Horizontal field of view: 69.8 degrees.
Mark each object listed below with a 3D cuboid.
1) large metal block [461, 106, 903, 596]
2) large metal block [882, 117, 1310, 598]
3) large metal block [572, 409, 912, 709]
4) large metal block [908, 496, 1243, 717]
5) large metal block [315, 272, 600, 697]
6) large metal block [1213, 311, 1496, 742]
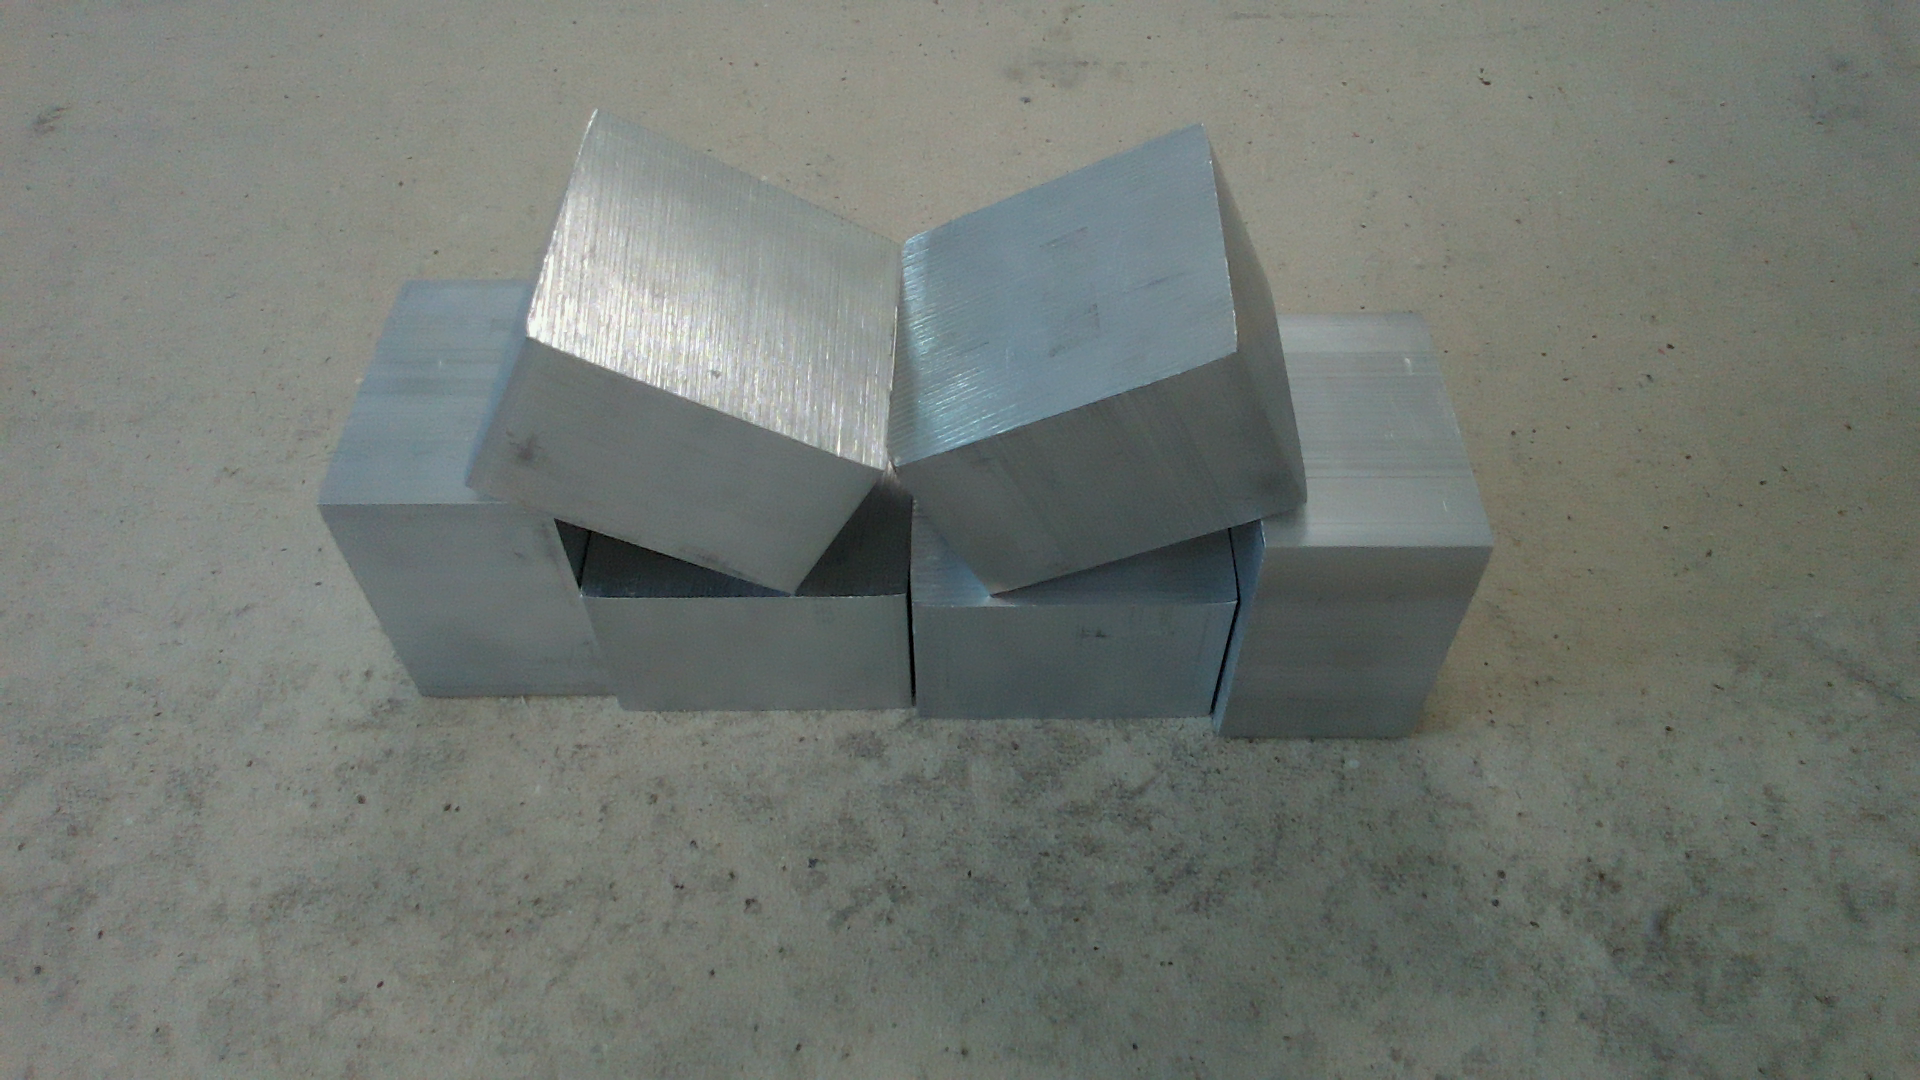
[{"bbox_3d":[-0.062,-0.044,0.326,0.080,0.050,0.080,20,46,-21],"label":"large metal block"},{"bbox_3d":[0.031,-0.042,0.326,0.080,0.050,0.080,-17,46,21],"label":"large metal block"},{"bbox_3d":[-0.053,-0.001,0.376,0.080,0.050,0.080,0,50,0],"label":"large metal block"},{"bbox_3d":[0.028,0.000,0.374,0.080,0.050,0.080,0,50,0],"label":"large metal block"},{"bbox_3d":[-0.120,-0.014,0.367,0.050,0.080,0.080,-1,49,0],"label":"large metal block"},{"bbox_3d":[0.093,-0.003,0.360,0.050,0.080,0.080,0,50,0],"label":"large metal block"}]
